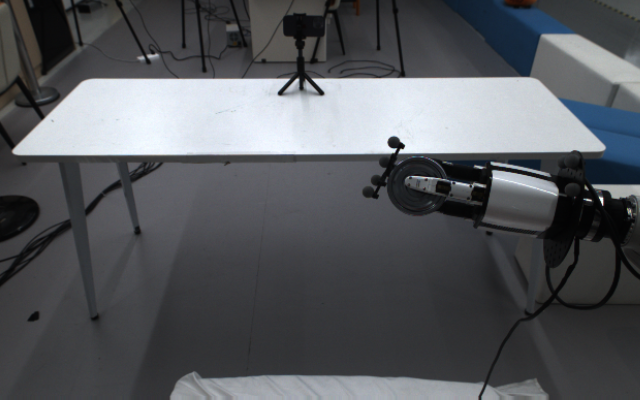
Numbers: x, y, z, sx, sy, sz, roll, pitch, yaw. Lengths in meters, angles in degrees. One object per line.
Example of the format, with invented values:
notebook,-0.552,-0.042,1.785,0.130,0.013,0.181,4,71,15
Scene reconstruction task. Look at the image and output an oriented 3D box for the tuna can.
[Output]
tuna can,0.141,-0.023,0.687,0.085,0.085,0.034,9,4,10
